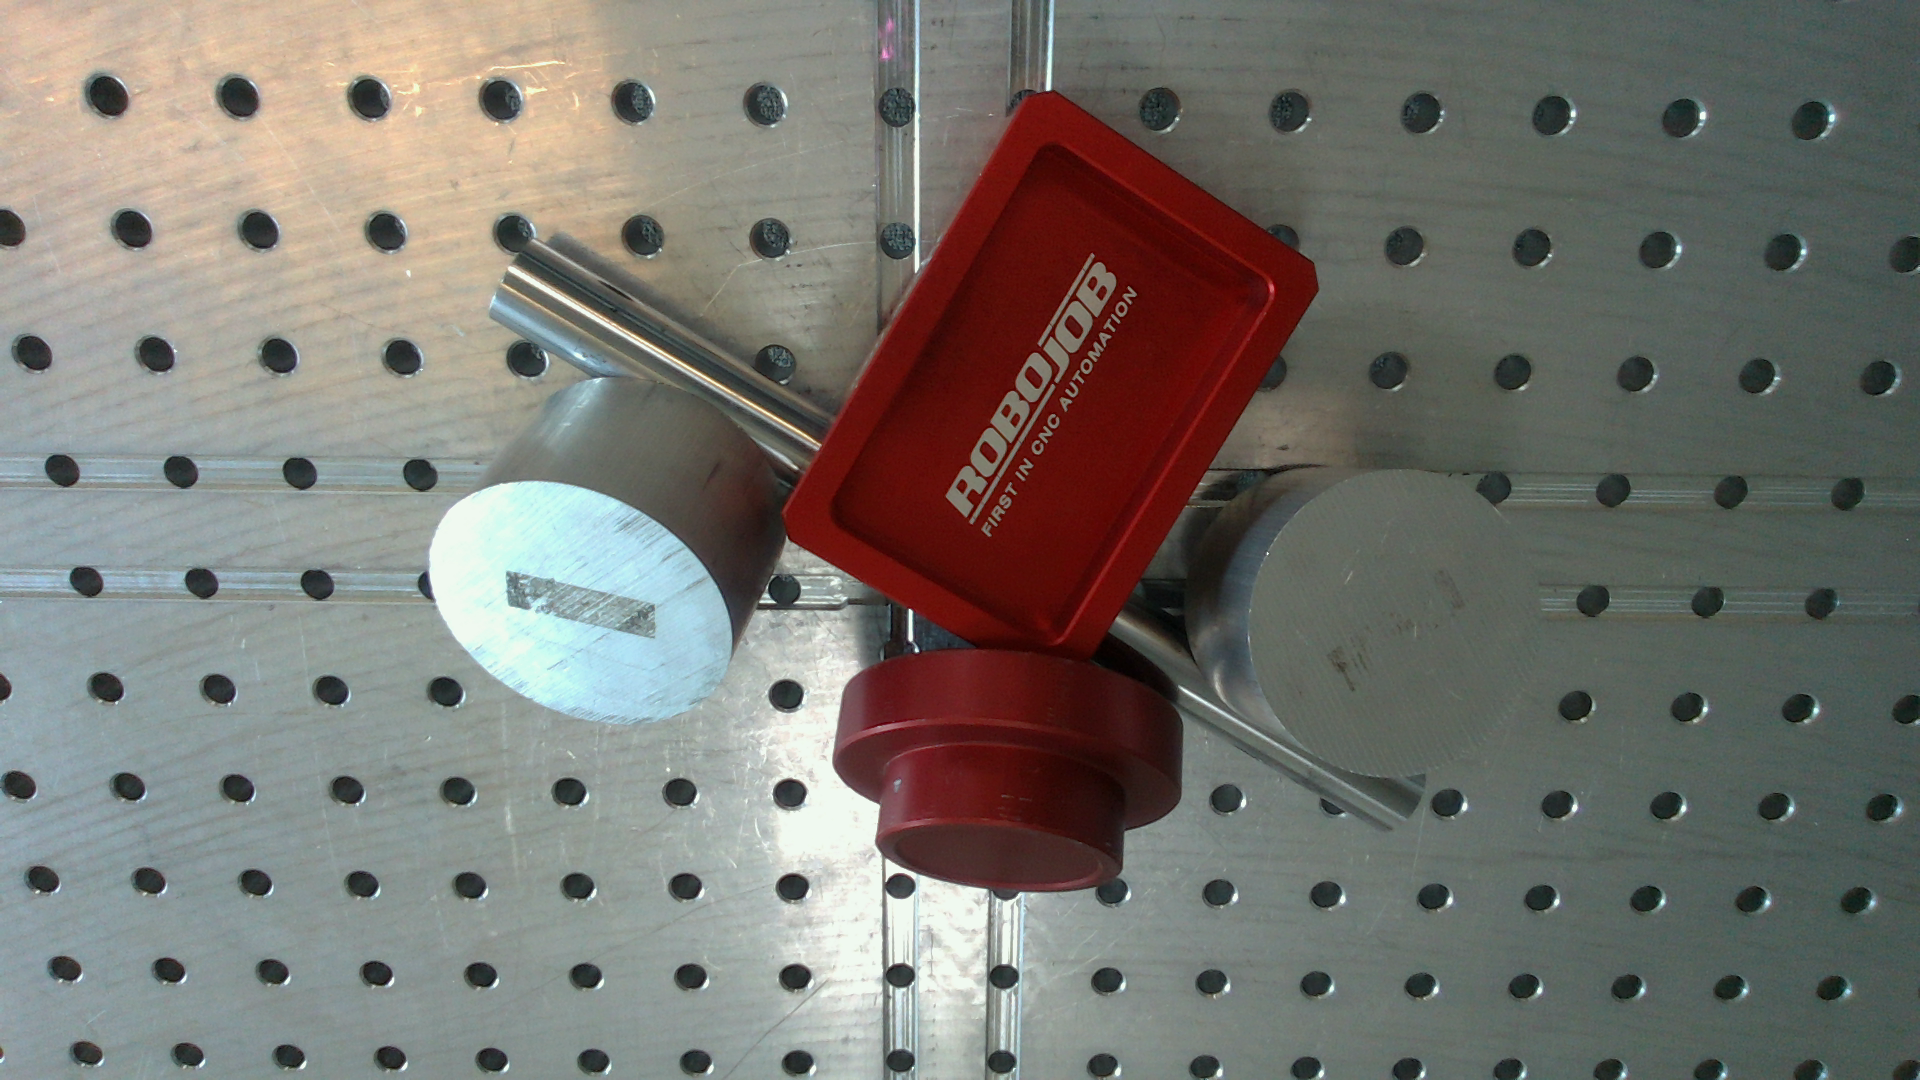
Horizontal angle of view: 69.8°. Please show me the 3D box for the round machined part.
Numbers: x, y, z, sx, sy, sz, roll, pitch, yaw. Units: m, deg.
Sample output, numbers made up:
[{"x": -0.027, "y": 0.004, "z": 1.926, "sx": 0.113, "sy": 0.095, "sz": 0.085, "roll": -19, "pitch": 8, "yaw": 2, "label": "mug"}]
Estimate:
[{"x": 0.012, "y": 0.070, "z": 0.384, "sx": 0.098, "sy": 0.042, "sz": 0.098, "roll": 5, "pitch": 153, "yaw": 3, "label": "round machined part"}]

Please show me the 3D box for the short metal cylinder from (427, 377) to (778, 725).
[{"x": -0.093, "y": 0.003, "z": 0.371, "sx": 0.080, "sy": 0.050, "sz": 0.080, "roll": 6, "pitch": 127, "yaw": 8, "label": "short metal cylinder"}]

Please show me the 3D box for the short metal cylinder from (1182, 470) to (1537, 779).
[{"x": 0.108, "y": 0.021, "z": 0.379, "sx": 0.080, "sy": 0.050, "sz": 0.080, "roll": -1, "pitch": 93, "yaw": -11, "label": "short metal cylinder"}]

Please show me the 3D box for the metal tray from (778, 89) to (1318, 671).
[{"x": 0.022, "y": -0.038, "z": 0.364, "sx": 0.090, "sy": 0.030, "sz": 0.130, "roll": 30, "pitch": 94, "yaw": -11, "label": "metal tray"}]

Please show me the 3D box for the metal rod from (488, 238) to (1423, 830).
[{"x": 0.007, "y": 0.004, "z": 0.398, "sx": 0.300, "sy": 0.025, "sz": 0.025, "roll": 30, "pitch": 107, "yaw": -11, "label": "metal rod"}]
